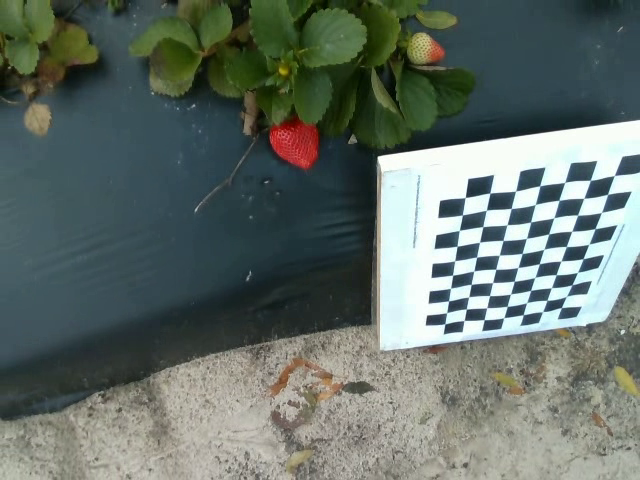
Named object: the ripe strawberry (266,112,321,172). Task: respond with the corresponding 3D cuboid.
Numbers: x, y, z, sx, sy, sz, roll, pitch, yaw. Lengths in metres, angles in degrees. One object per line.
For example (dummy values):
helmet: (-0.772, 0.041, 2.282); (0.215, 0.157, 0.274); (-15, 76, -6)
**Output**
ripe strawberry: (-0.019, -0.069, 0.457); (0.037, 0.046, 0.036); (-36, -9, 34)
